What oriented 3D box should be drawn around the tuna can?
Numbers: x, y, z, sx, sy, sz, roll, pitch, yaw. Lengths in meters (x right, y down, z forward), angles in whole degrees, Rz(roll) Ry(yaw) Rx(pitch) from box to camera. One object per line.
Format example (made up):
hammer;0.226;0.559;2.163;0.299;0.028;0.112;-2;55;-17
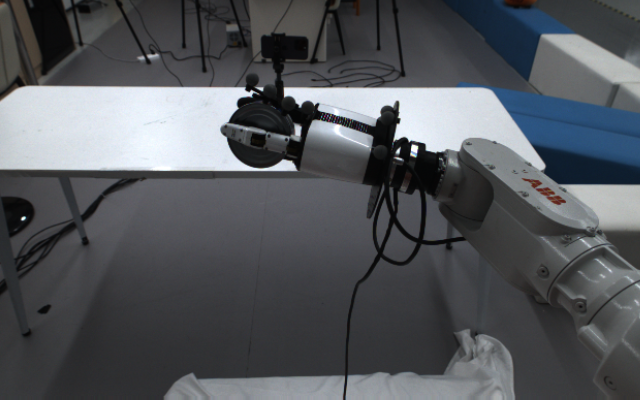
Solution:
tuna can;-0.075;-0.088;0.638;0.085;0.085;0.034;7;17;7
